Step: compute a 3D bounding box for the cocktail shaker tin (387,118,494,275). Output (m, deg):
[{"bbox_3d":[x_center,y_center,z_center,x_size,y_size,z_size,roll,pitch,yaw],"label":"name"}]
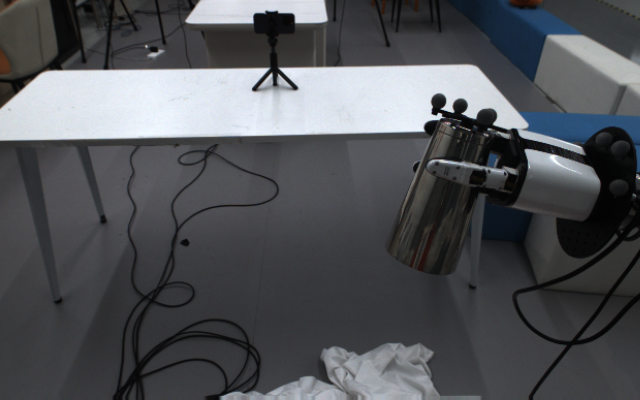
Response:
[{"bbox_3d":[0.150,-0.010,0.588,0.093,0.170,0.093,14,18,-5],"label":"cocktail shaker tin"}]
